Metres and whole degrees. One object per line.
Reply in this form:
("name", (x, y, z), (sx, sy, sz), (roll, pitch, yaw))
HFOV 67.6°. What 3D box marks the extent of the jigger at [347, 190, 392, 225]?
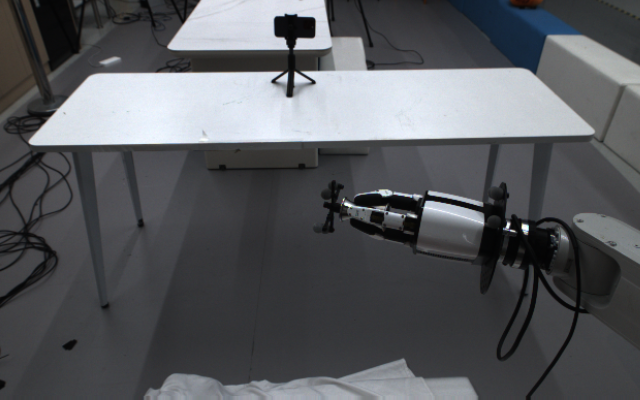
("jigger", (0.073, 0.016, 0.726), (0.071, 0.043, 0.043), (10, 35, 16))
